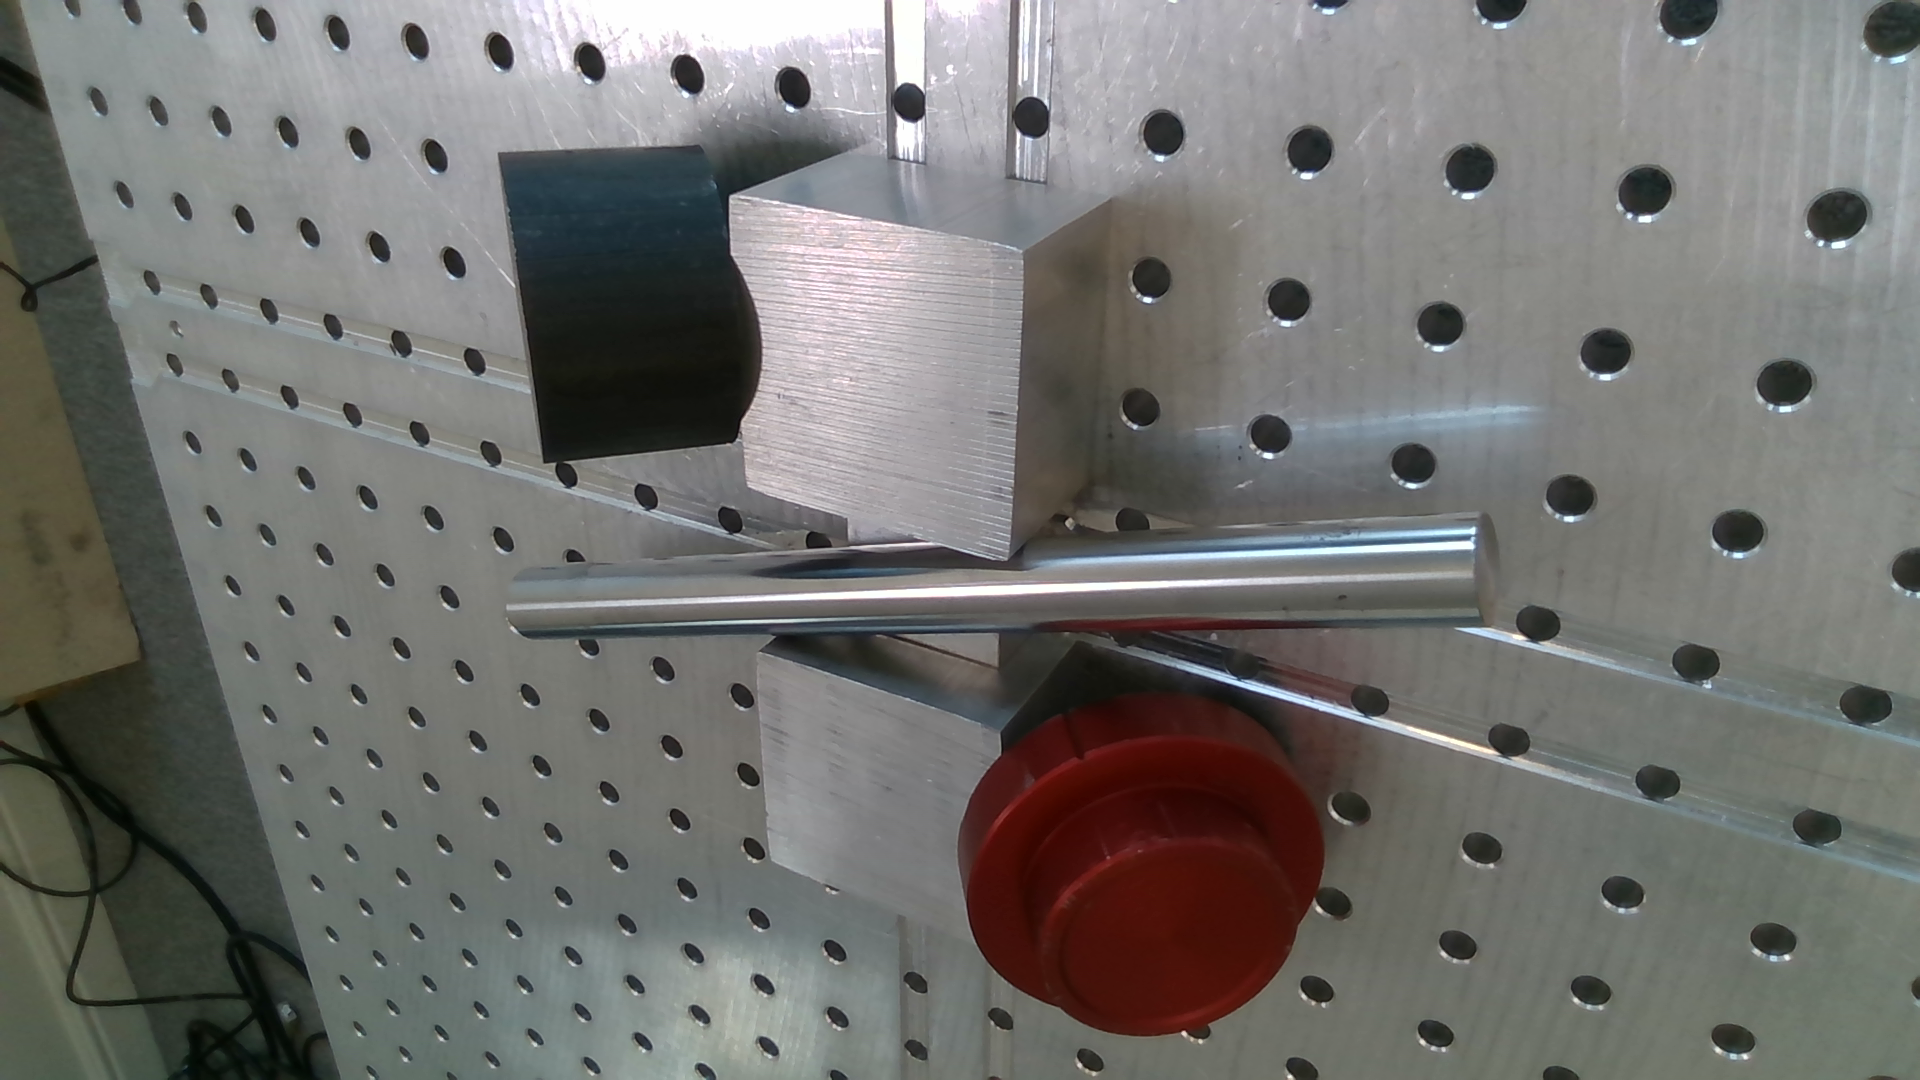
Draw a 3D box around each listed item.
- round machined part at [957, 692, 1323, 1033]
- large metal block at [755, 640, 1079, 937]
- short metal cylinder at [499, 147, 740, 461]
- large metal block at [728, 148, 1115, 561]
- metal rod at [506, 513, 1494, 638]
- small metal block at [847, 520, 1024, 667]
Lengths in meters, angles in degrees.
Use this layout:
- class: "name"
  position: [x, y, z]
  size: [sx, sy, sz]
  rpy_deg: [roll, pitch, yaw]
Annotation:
- class: "round machined part"
  position: [0.050, 0.093, 0.369]
  size: [0.098, 0.042, 0.098]
  rpy_deg: [-3, 119, -6]
- class: "large metal block"
  position: [-0.012, 0.065, 0.420]
  size: [0.080, 0.050, 0.080]
  rpy_deg: [15, 122, 24]
- class: "short metal cylinder"
  position: [-0.092, -0.063, 0.370]
  size: [0.080, 0.050, 0.080]
  rpy_deg: [171, 91, -73]
- class: "large metal block"
  position: [-0.010, -0.050, 0.355]
  size: [0.080, 0.050, 0.080]
  rpy_deg: [16, 123, 24]
- class: "metal rod"
  position: [-0.014, 0.014, 0.375]
  size: [0.300, 0.025, 0.025]
  rpy_deg: [-3, 113, 33]
- class: "small metal block"
  position: [-0.005, 0.003, 0.397]
  size: [0.050, 0.025, 0.050]
  rpy_deg: [15, 122, 24]
